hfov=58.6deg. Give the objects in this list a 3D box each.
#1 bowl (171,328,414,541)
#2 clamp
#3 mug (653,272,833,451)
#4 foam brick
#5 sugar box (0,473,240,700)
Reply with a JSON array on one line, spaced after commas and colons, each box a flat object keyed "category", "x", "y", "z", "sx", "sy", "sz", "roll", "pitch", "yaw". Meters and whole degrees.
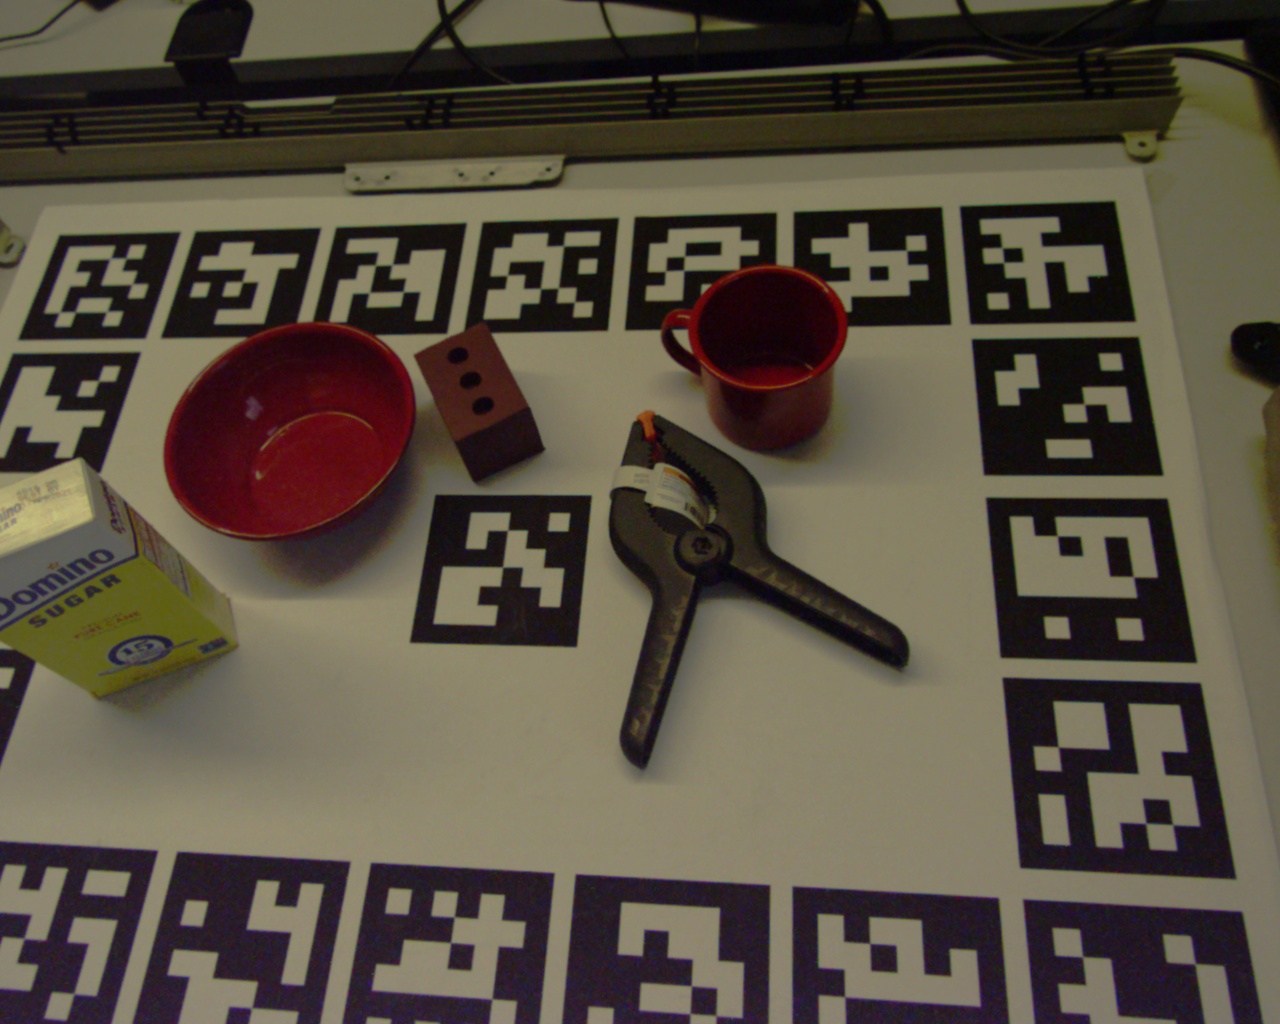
[{"category": "bowl", "x": -0.224, "y": -0.042, "z": 0.760, "sx": 0.162, "sy": 0.055, "sz": 0.162, "roll": -3, "pitch": 62, "yaw": 5}, {"category": "clamp", "x": 0.025, "y": 0.026, "z": 0.694, "sx": 0.165, "sy": 0.036, "sz": 0.204, "roll": -22, "pitch": 63, "yaw": -1}, {"category": "mug", "x": 0.062, "y": -0.096, "z": 0.731, "sx": 0.118, "sy": 0.081, "sz": 0.093, "roll": 25, "pitch": 68, "yaw": 15}, {"category": "foam brick", "x": -0.106, "y": -0.063, "z": 0.763, "sx": 0.052, "sy": 0.051, "sz": 0.079, "roll": -25, "pitch": 63, "yaw": -5}, {"category": "sugar box", "x": -0.310, "y": 0.049, "z": 0.657, "sx": 0.092, "sy": 0.175, "sz": 0.045, "roll": -22, "pitch": 64, "yaw": -6}]
